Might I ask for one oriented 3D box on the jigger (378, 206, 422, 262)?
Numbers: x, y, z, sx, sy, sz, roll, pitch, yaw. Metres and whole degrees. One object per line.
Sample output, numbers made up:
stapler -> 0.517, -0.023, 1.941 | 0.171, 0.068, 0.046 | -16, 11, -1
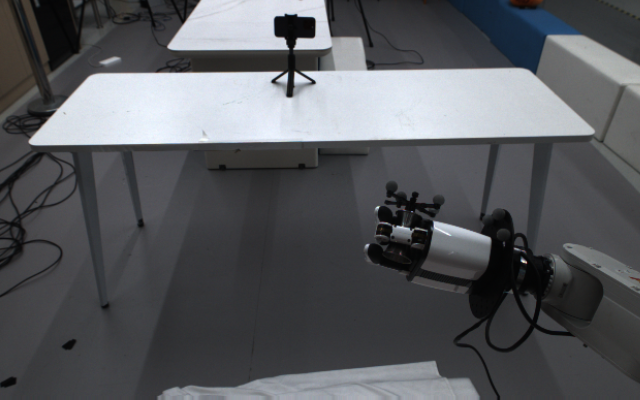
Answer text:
jigger -> 0.122, 0.051, 0.700 | 0.043, 0.043, 0.071 | 13, 72, 15
